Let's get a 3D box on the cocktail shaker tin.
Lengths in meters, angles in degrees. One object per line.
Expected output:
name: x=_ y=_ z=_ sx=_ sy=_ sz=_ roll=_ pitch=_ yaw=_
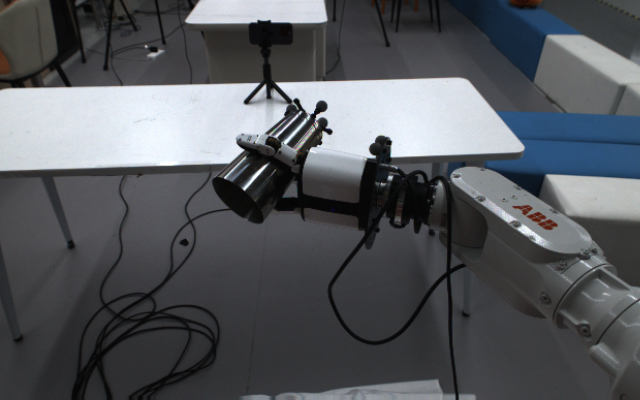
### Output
cocktail shaker tin: x=-0.070 y=-0.063 z=0.718 sx=0.093 sy=0.093 sz=0.170 roll=23 pitch=57 yaw=27
